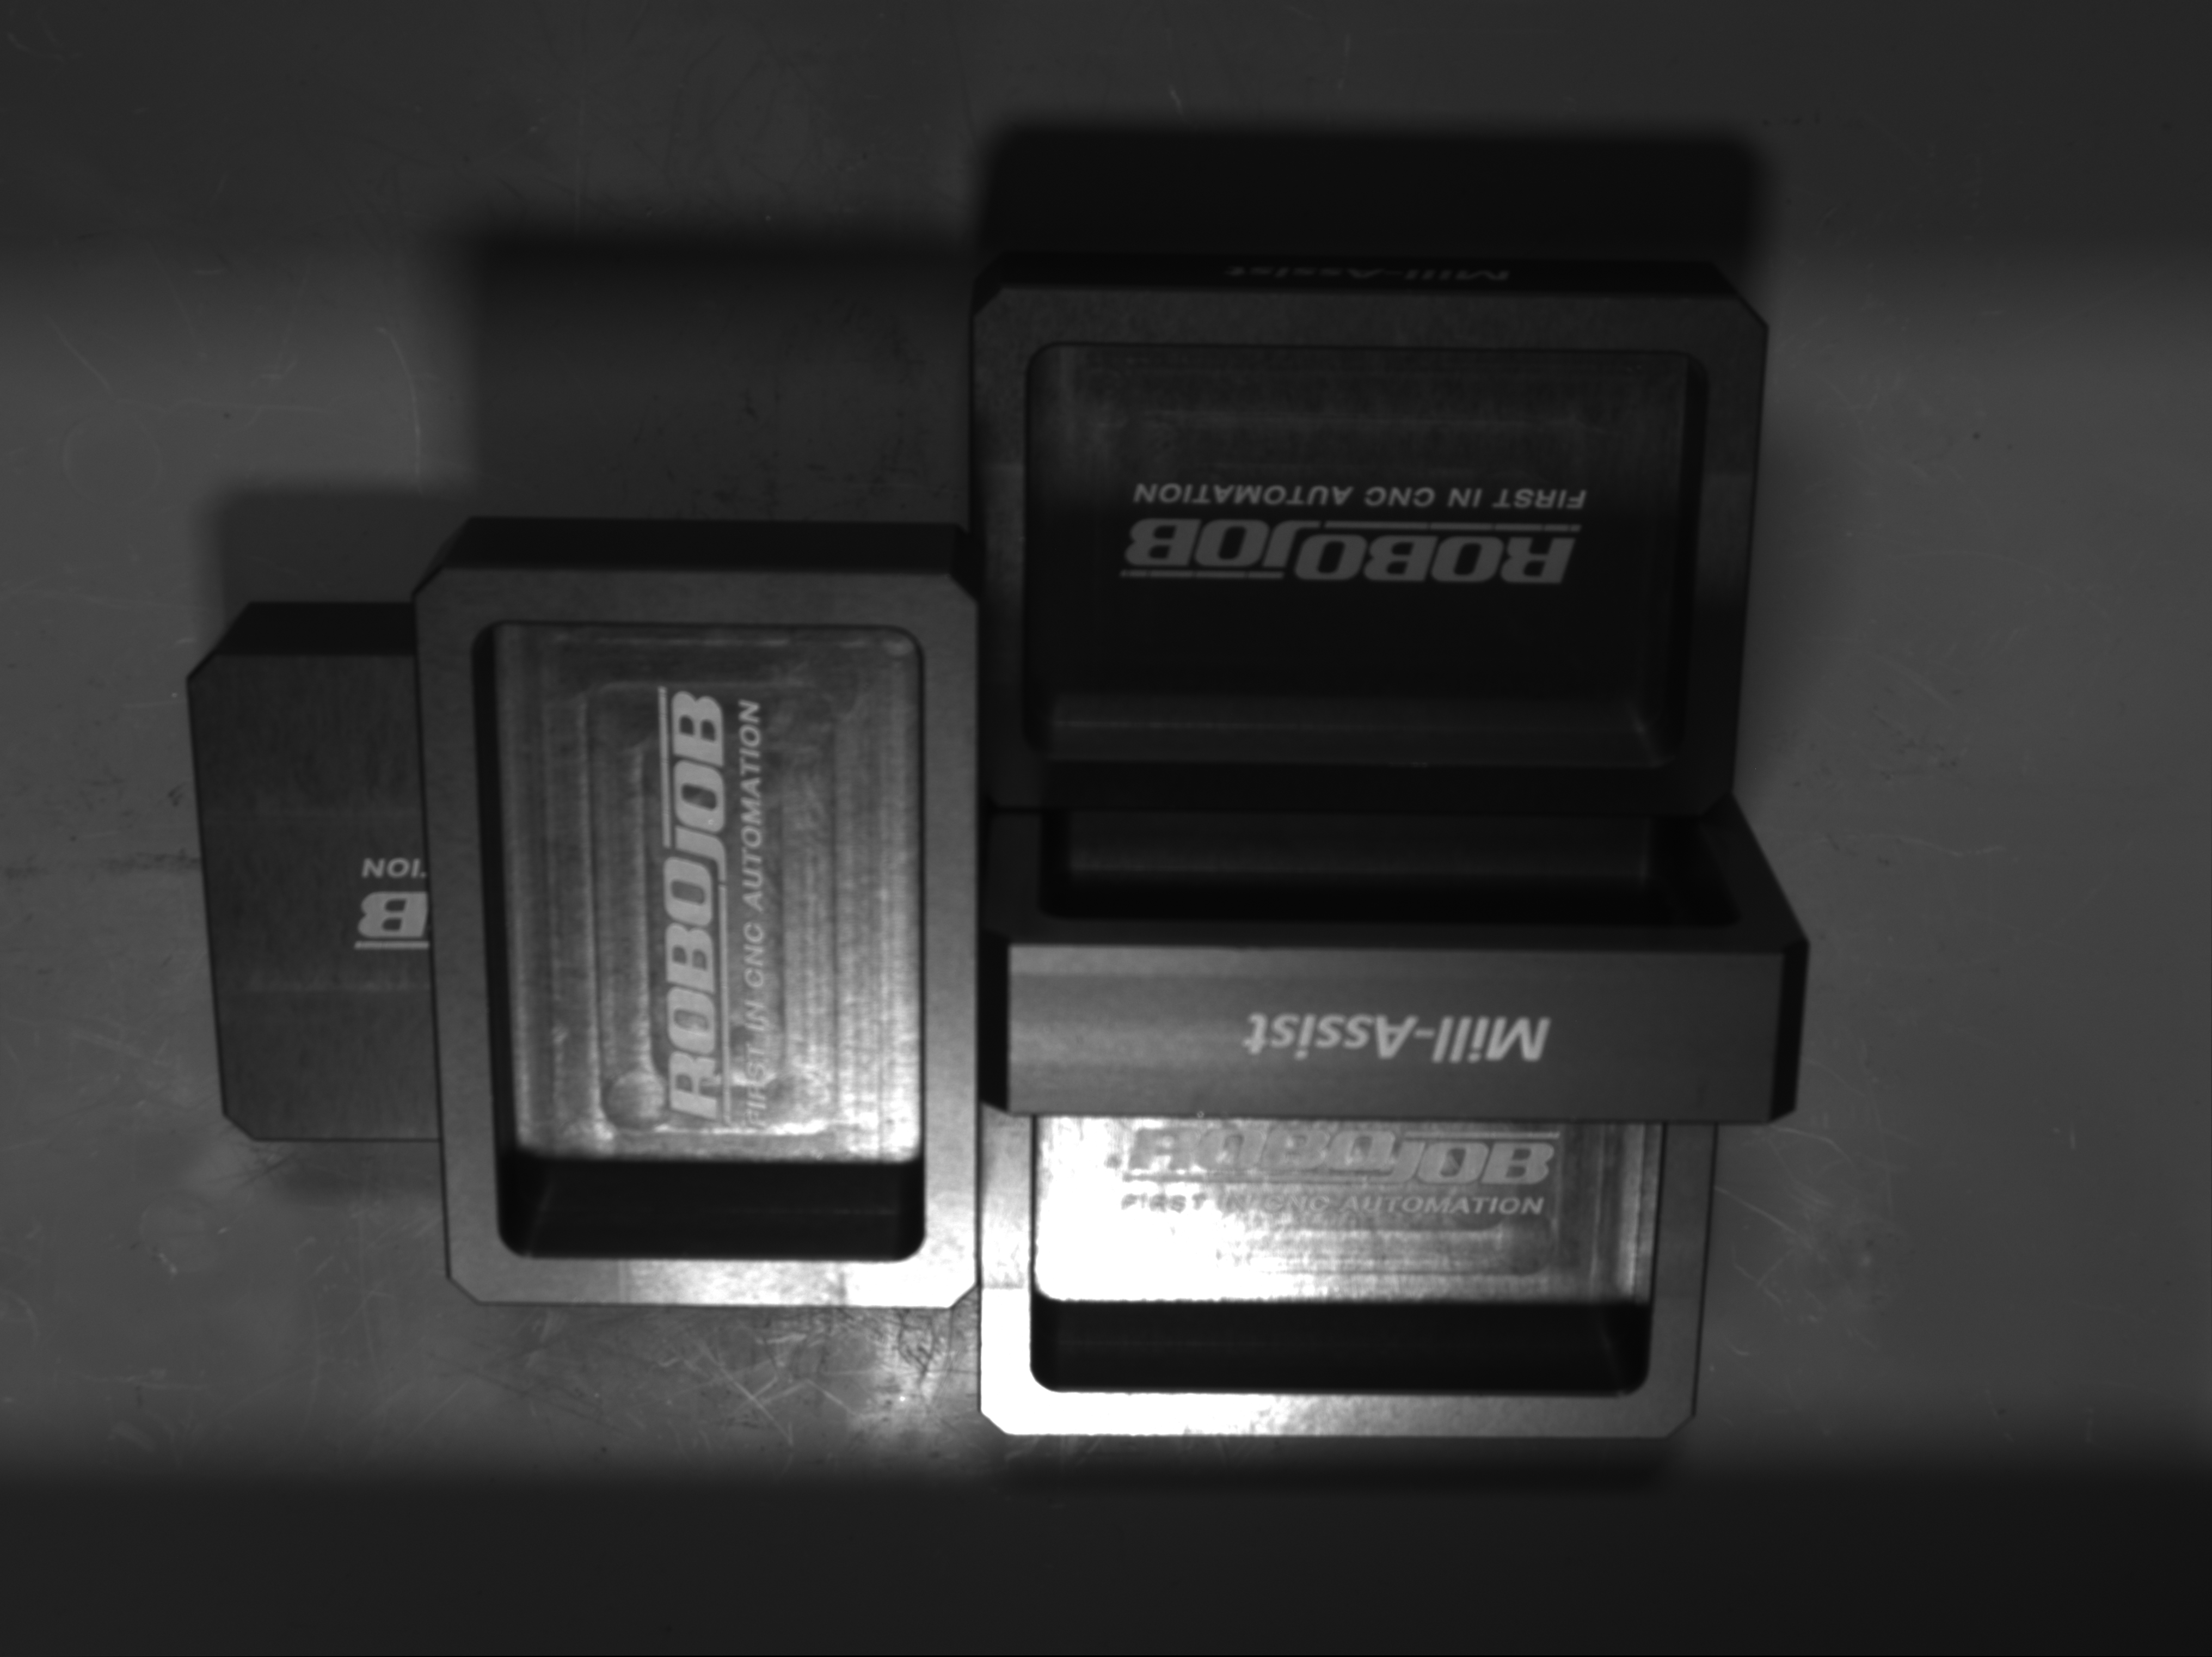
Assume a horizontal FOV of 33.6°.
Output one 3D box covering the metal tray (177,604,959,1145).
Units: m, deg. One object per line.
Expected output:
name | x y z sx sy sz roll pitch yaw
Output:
metal tray | -0.091 0.008 0.639 0.130 0.030 0.090 0 110 -1

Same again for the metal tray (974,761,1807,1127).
metal tray | 0.044 0.017 0.613 0.130 0.090 0.030 1 110 -1

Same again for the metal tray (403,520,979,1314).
metal tray | -0.067 0.016 0.611 0.090 0.030 0.130 1 110 -1

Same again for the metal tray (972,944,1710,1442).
metal tray | 0.041 0.064 0.663 0.130 0.030 0.090 1 110 -1

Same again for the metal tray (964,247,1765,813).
metal tray | 0.041 -0.050 0.622 0.130 0.030 0.090 1 110 -1
